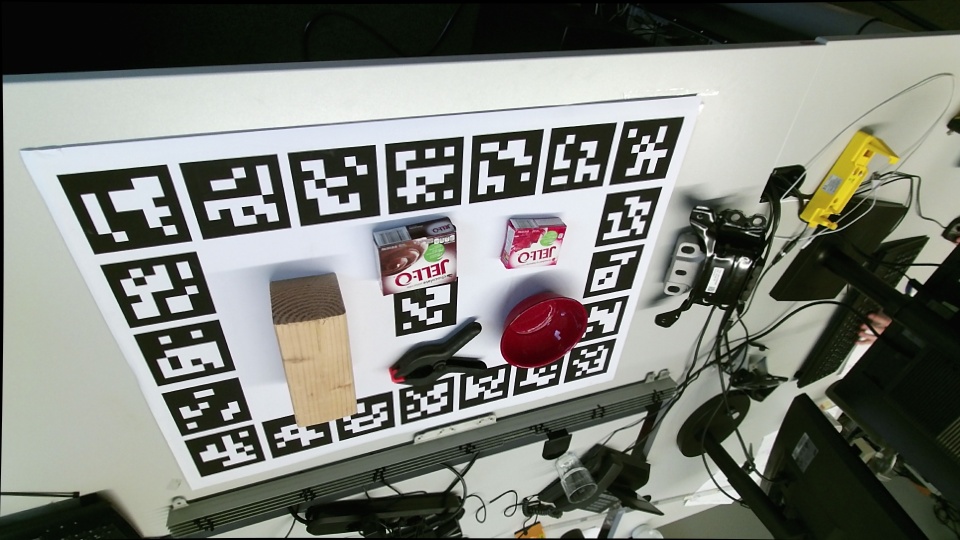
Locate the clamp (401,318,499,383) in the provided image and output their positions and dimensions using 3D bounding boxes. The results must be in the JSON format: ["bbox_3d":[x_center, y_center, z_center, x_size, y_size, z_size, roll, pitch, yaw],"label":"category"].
[{"bbox_3d":[-0.052,0.149,0.907,0.166,0.036,0.122,-18,130,-9],"label":"clamp"}]

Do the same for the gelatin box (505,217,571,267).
[{"bbox_3d":[0.089,-0.043,0.820,0.090,0.030,0.073,-3,124,-22],"label":"gelatin box"}]

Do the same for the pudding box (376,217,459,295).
[{"bbox_3d":[-0.085,-0.020,0.754,0.114,0.038,0.090,-12,124,-19],"label":"pudding box"}]

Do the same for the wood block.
[{"bbox_3d":[-0.231,0.115,0.753,0.090,0.090,0.206,-7,127,-18],"label":"wood block"}]

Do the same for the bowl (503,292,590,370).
[{"bbox_3d":[0.106,0.094,0.924,0.162,0.055,0.161,-11,125,-16],"label":"bowl"}]
